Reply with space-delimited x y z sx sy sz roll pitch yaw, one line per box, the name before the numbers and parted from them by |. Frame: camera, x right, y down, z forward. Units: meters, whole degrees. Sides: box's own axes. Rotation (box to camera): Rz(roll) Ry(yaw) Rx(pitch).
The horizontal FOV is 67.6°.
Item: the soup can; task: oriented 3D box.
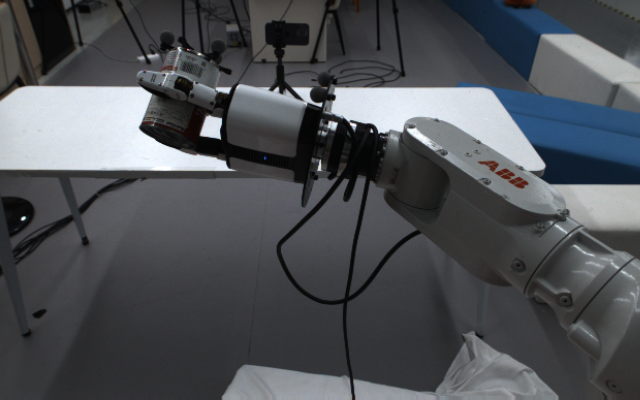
soup can | -0.166 -0.119 0.580 0.067 0.067 0.101 13 78 15
